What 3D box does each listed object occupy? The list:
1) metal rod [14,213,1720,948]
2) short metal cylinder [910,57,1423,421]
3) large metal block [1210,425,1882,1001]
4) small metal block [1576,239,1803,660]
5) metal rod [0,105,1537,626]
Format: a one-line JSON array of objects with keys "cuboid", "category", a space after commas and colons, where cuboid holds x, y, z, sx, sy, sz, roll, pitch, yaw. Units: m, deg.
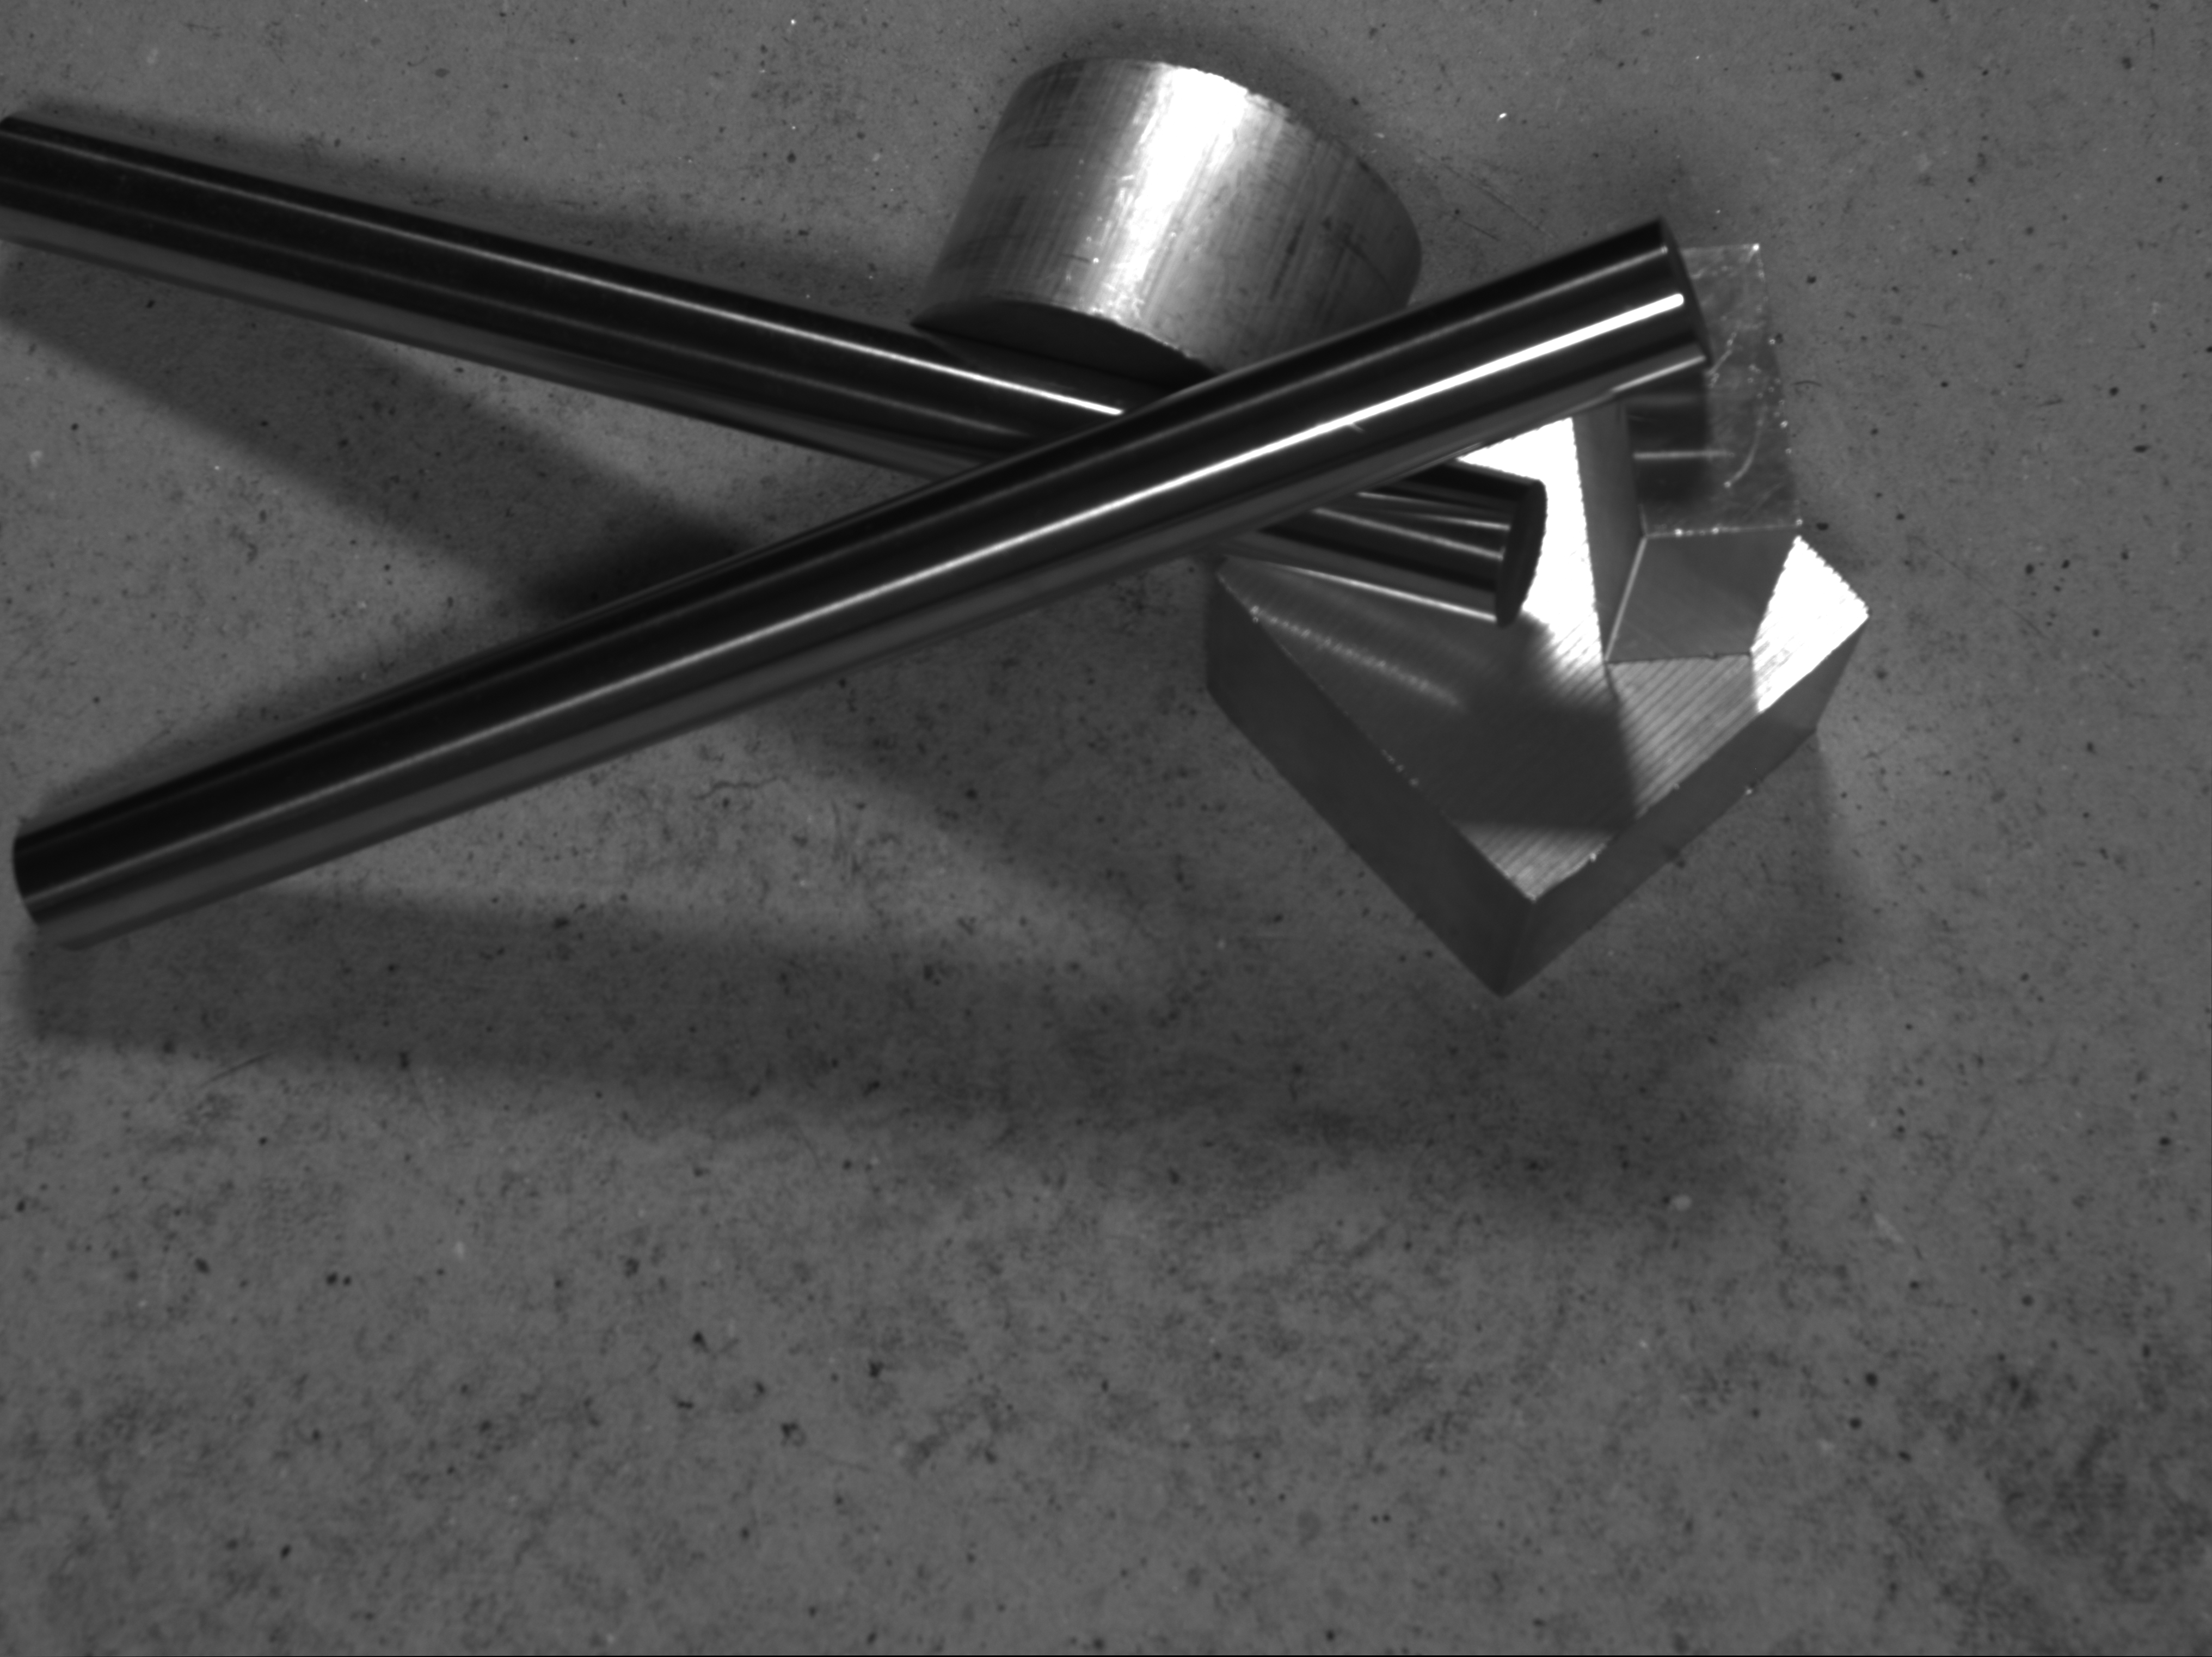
[{"cuboid": [-0.047, -0.037, 0.602, 0.300, 0.025, 0.025, -19, 69, 15], "category": "metal rod"}, {"cuboid": [0.010, -0.092, 0.651, 0.080, 0.080, 0.050, 20, 71, 7], "category": "short metal cylinder"}, {"cuboid": [0.075, -0.031, 0.642, 0.080, 0.050, 0.080, -40, 74, -12], "category": "large metal block"}, {"cuboid": [0.094, -0.061, 0.598, 0.025, 0.050, 0.050, -4, 70, -1], "category": "small metal block"}, {"cuboid": [-0.070, -0.085, 0.646, 0.300, 0.025, 0.025, 16, 70, 18], "category": "metal rod"}]
